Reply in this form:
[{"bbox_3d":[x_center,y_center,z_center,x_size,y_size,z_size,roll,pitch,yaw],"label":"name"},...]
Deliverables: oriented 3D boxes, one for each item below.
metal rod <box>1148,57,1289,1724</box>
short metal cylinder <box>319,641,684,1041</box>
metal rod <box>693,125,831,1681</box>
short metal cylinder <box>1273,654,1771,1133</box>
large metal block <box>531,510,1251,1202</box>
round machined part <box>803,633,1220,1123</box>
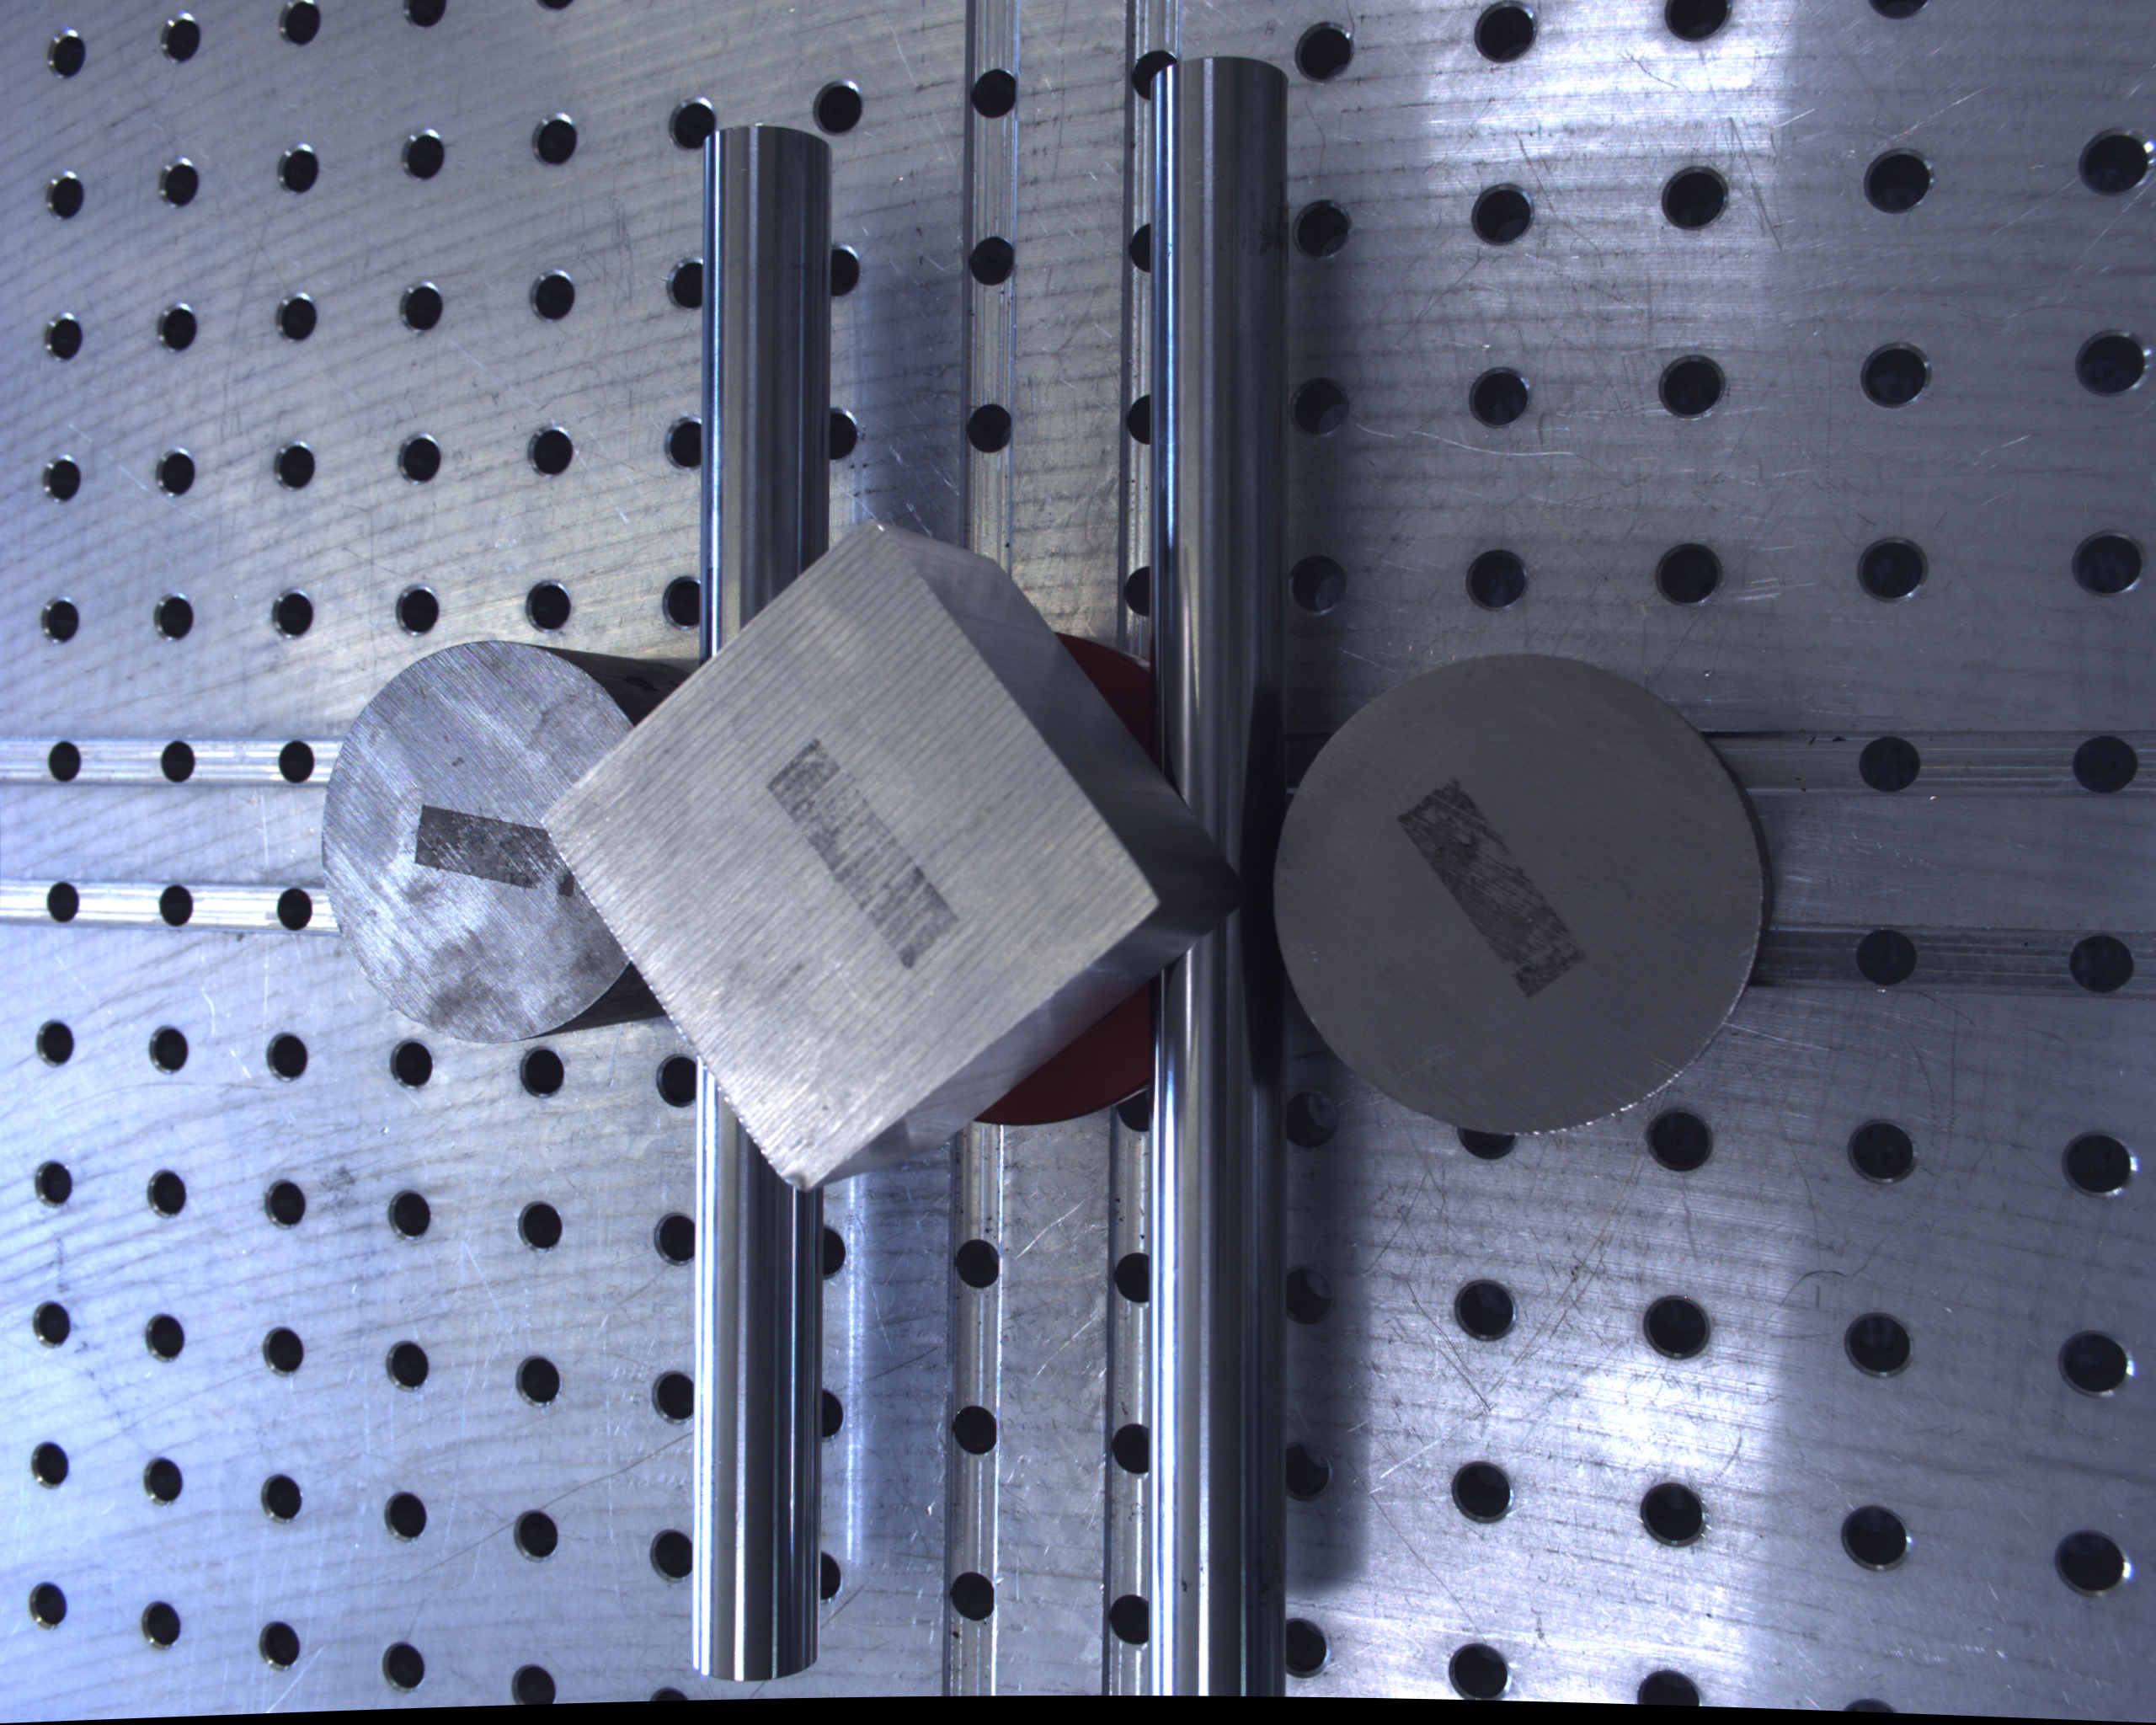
[{"bbox_3d":[0.026,0.007,0.381,0.025,0.025,0.298,0,90,20],"label":"metal rod"},{"bbox_3d":[-0.109,-0.004,0.438,0.080,0.050,0.080,0,90,20],"label":"short metal cylinder"},{"bbox_3d":[-0.062,0.008,0.412,0.025,0.025,0.298,0,90,20],"label":"metal rod"},{"bbox_3d":[0.080,0.005,0.370,0.080,0.050,0.080,0,90,20],"label":"short metal cylinder"},{"bbox_3d":[-0.031,-0.001,0.360,0.080,0.050,0.080,-40,78,15],"label":"large metal block"},{"bbox_3d":[-0.014,0.003,0.409,0.098,0.042,0.097,0,90,20],"label":"round machined part"}]
